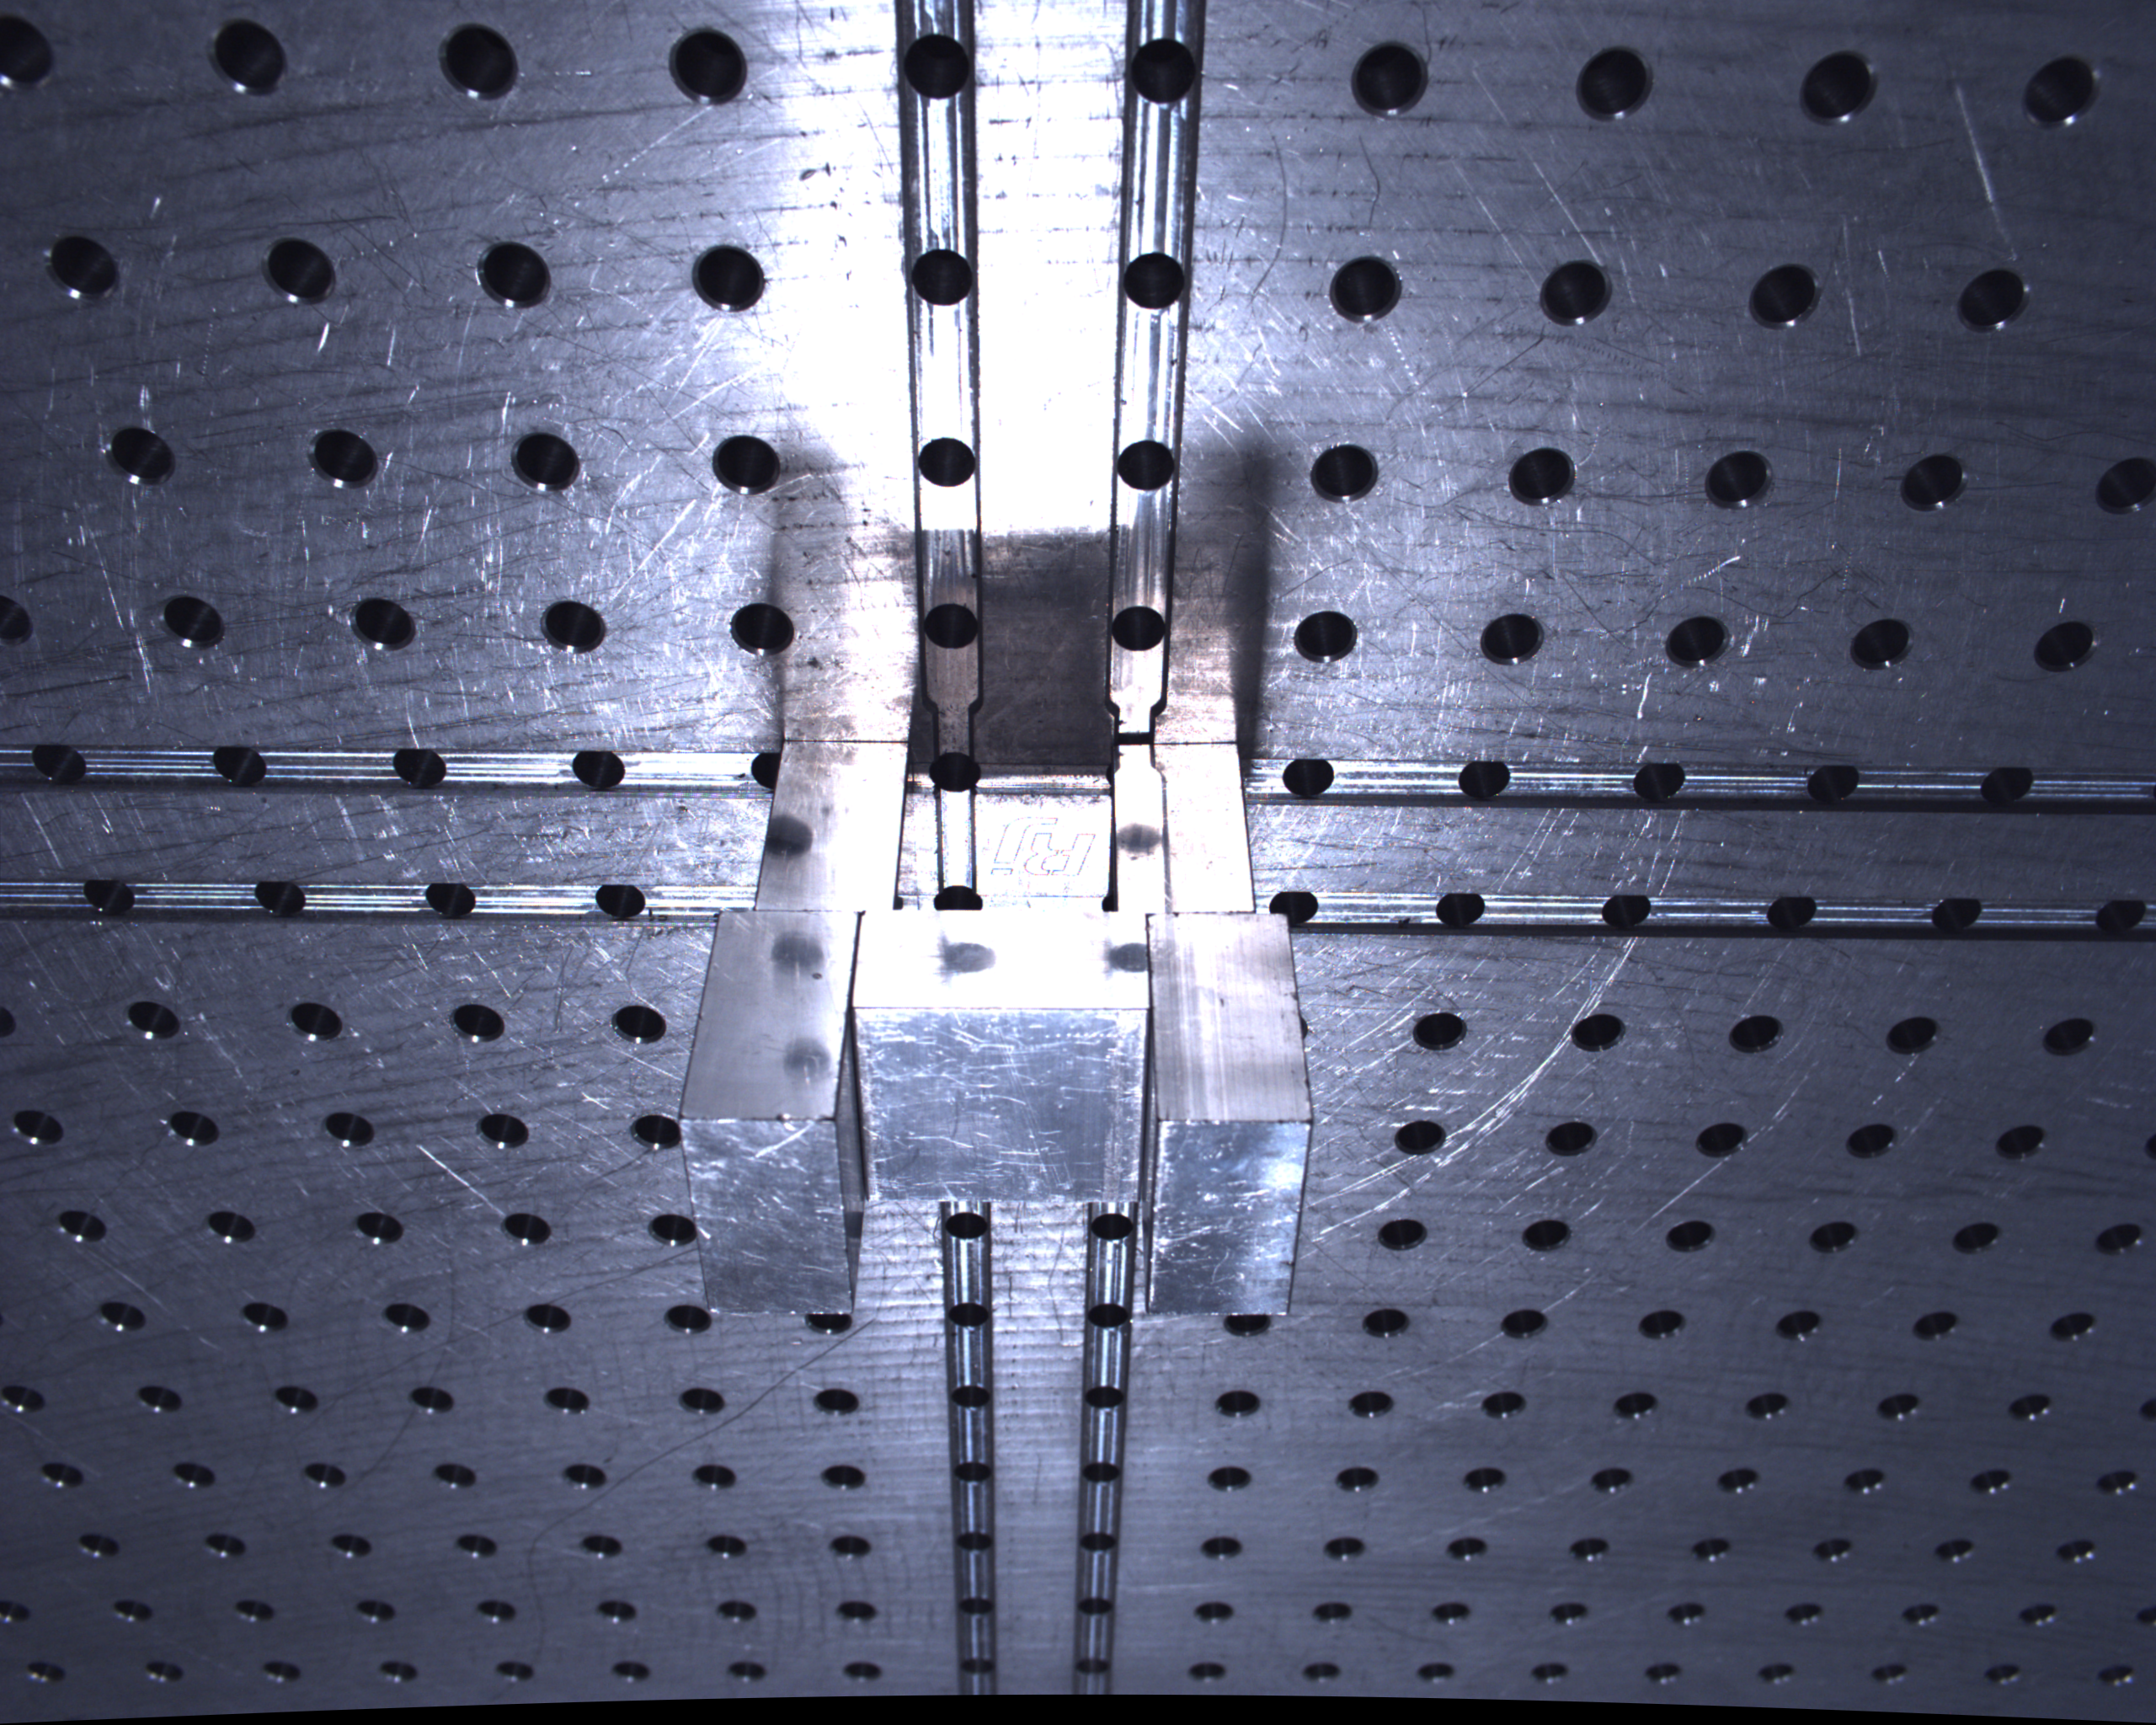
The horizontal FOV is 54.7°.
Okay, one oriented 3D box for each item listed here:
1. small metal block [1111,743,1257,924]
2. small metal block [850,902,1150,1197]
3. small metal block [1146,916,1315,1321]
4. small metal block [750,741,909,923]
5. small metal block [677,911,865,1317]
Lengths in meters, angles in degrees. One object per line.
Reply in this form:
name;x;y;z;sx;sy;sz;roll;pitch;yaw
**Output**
small metal block;0.019;0.012;0.405;0.025;0.050;0.050;-1;130;0
small metal block;-0.014;0.034;0.376;0.050;0.025;0.050;0;130;-1
small metal block;0.025;0.045;0.366;0.025;0.050;0.050;1;130;-1
small metal block;-0.046;0.012;0.403;0.025;0.050;0.050;0;130;-1
small metal block;-0.051;0.044;0.365;0.025;0.050;0.050;1;130;-1
